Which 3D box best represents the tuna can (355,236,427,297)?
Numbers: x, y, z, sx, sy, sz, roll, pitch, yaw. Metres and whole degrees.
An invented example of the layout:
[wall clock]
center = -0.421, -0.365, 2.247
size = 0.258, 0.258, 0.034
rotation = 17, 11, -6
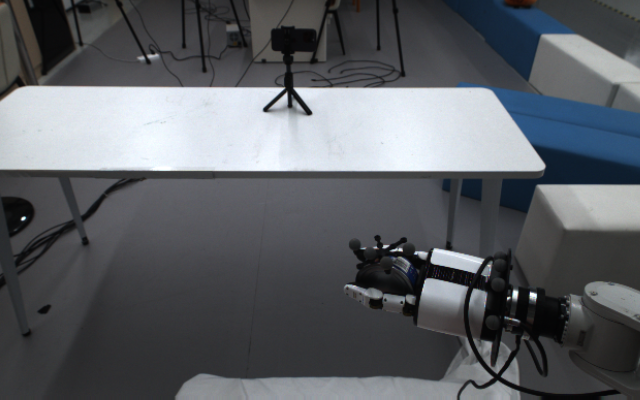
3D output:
[tuna can]
center = 0.098, 0.114, 0.691
size = 0.085, 0.085, 0.034
rotation = 17, 37, 20
